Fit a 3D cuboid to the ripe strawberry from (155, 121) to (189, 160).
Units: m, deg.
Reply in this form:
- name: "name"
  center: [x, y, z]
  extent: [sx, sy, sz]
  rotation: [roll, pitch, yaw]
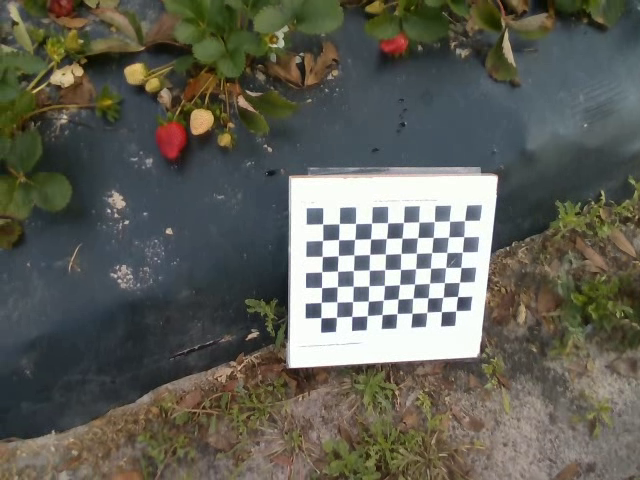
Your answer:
- name: "ripe strawberry"
  center: [-0.193, -0.127, 0.755]
  extent: [0.050, 0.059, 0.034]
  rotation: [-12, -31, -4]
